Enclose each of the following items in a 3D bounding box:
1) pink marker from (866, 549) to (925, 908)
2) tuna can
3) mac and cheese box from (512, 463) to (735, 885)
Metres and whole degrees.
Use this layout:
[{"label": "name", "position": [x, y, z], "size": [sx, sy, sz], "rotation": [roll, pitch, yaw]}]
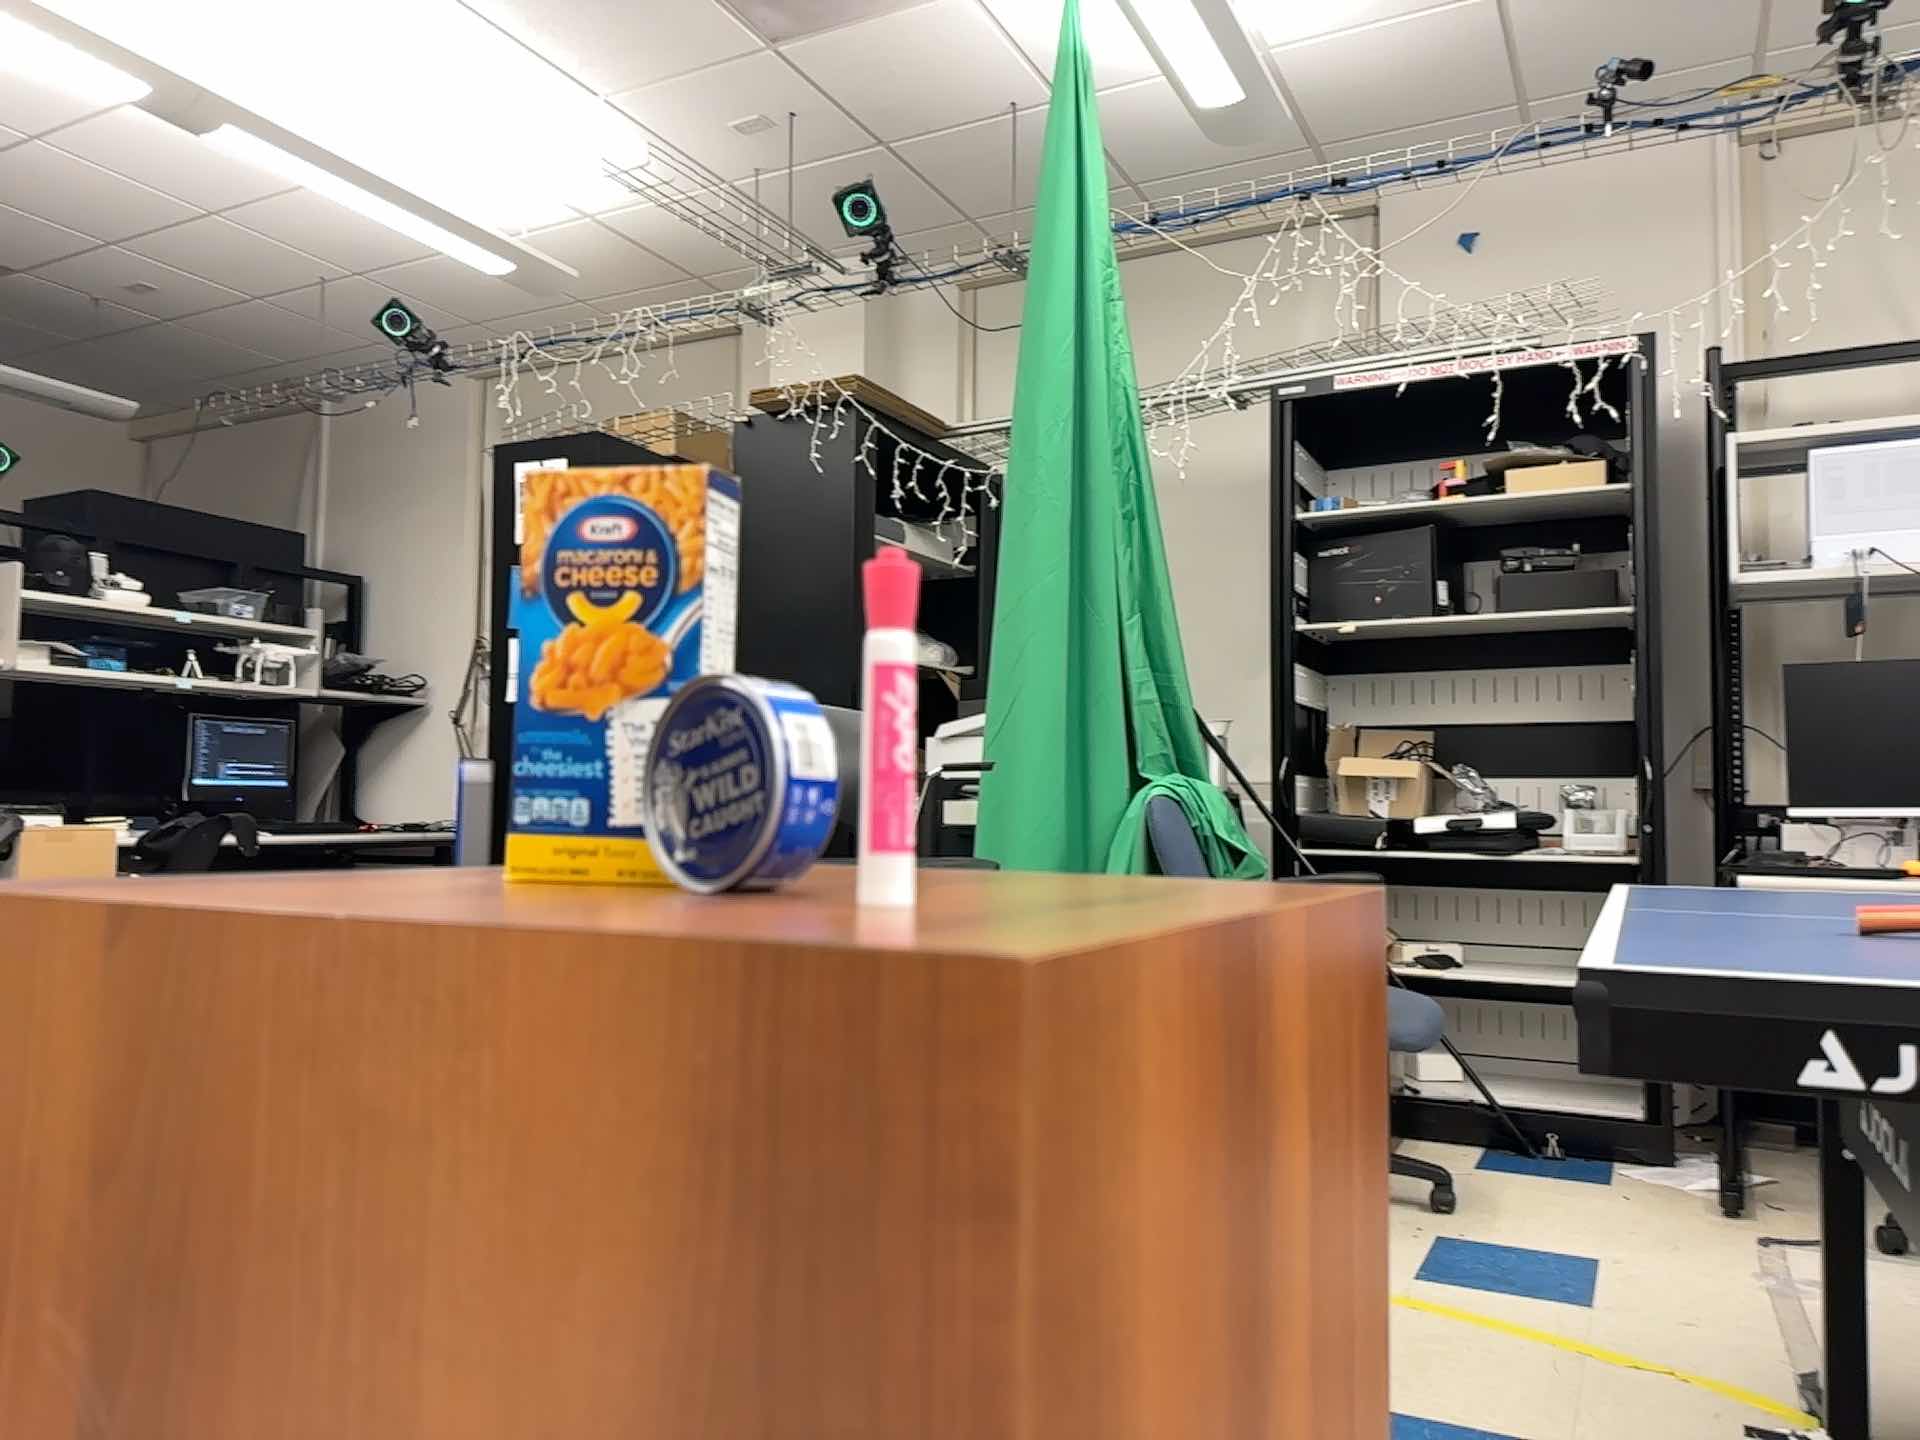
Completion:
[{"label": "pink marker", "position": [-0.022, 0.002, 0.457], "size": [0.020, 0.121, 0.020], "rotation": [0, -3, 0]}, {"label": "tuna can", "position": [-0.085, 0.026, 0.538], "size": [0.034, 0.083, 0.083], "rotation": [5, -5, -45]}, {"label": "mac and cheese box", "position": [-0.151, -0.019, 0.605], "size": [0.088, 0.181, 0.035], "rotation": [-1, -3, 19]}]
